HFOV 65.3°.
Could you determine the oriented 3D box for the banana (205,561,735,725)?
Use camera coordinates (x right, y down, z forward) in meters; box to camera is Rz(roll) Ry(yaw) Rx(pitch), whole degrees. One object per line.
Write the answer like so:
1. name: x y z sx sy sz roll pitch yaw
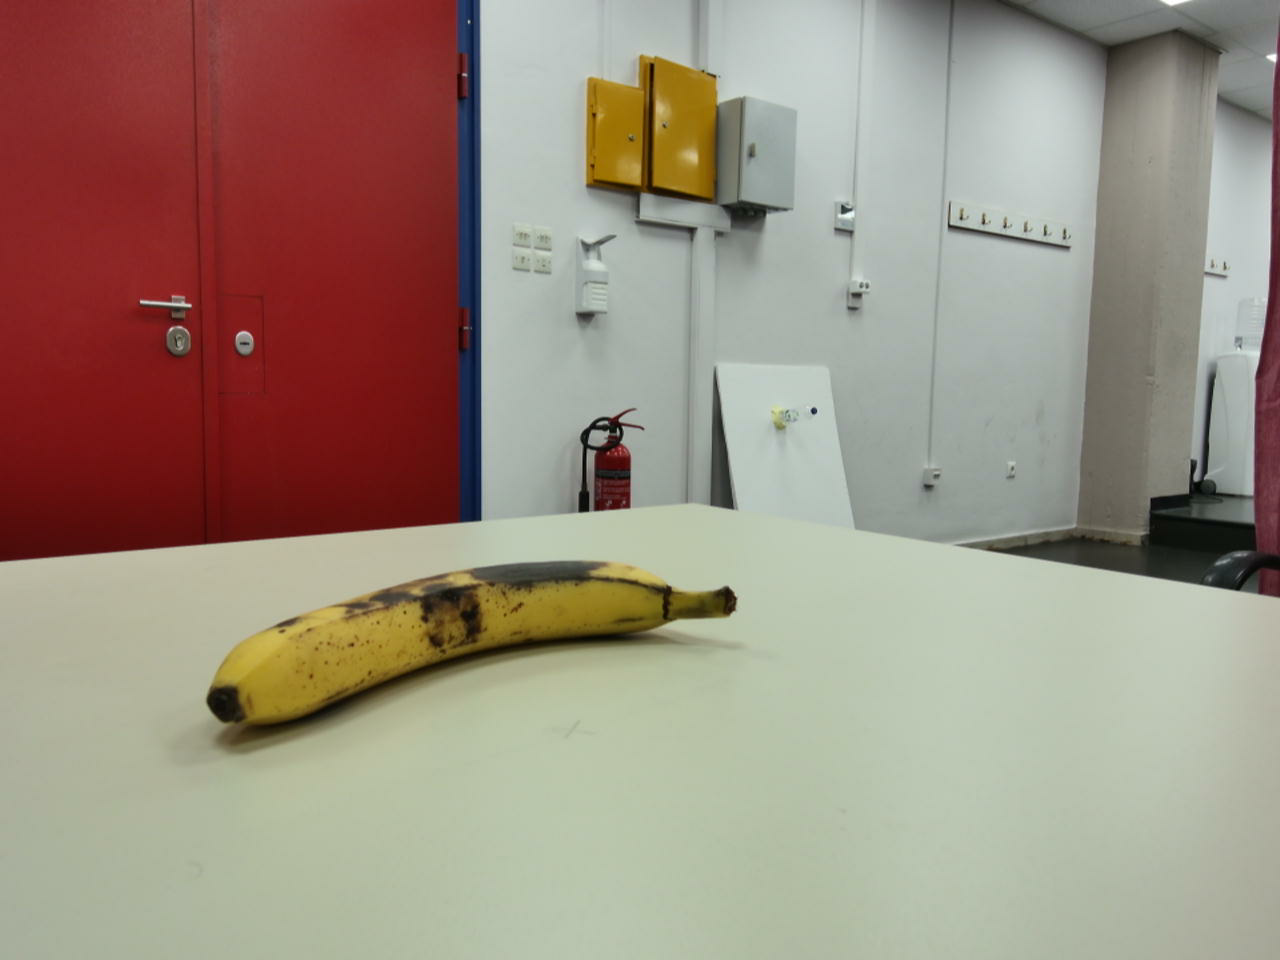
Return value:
1. banana: -0.067 0.058 0.405 0.222 0.037 0.084 -3 5 -39
